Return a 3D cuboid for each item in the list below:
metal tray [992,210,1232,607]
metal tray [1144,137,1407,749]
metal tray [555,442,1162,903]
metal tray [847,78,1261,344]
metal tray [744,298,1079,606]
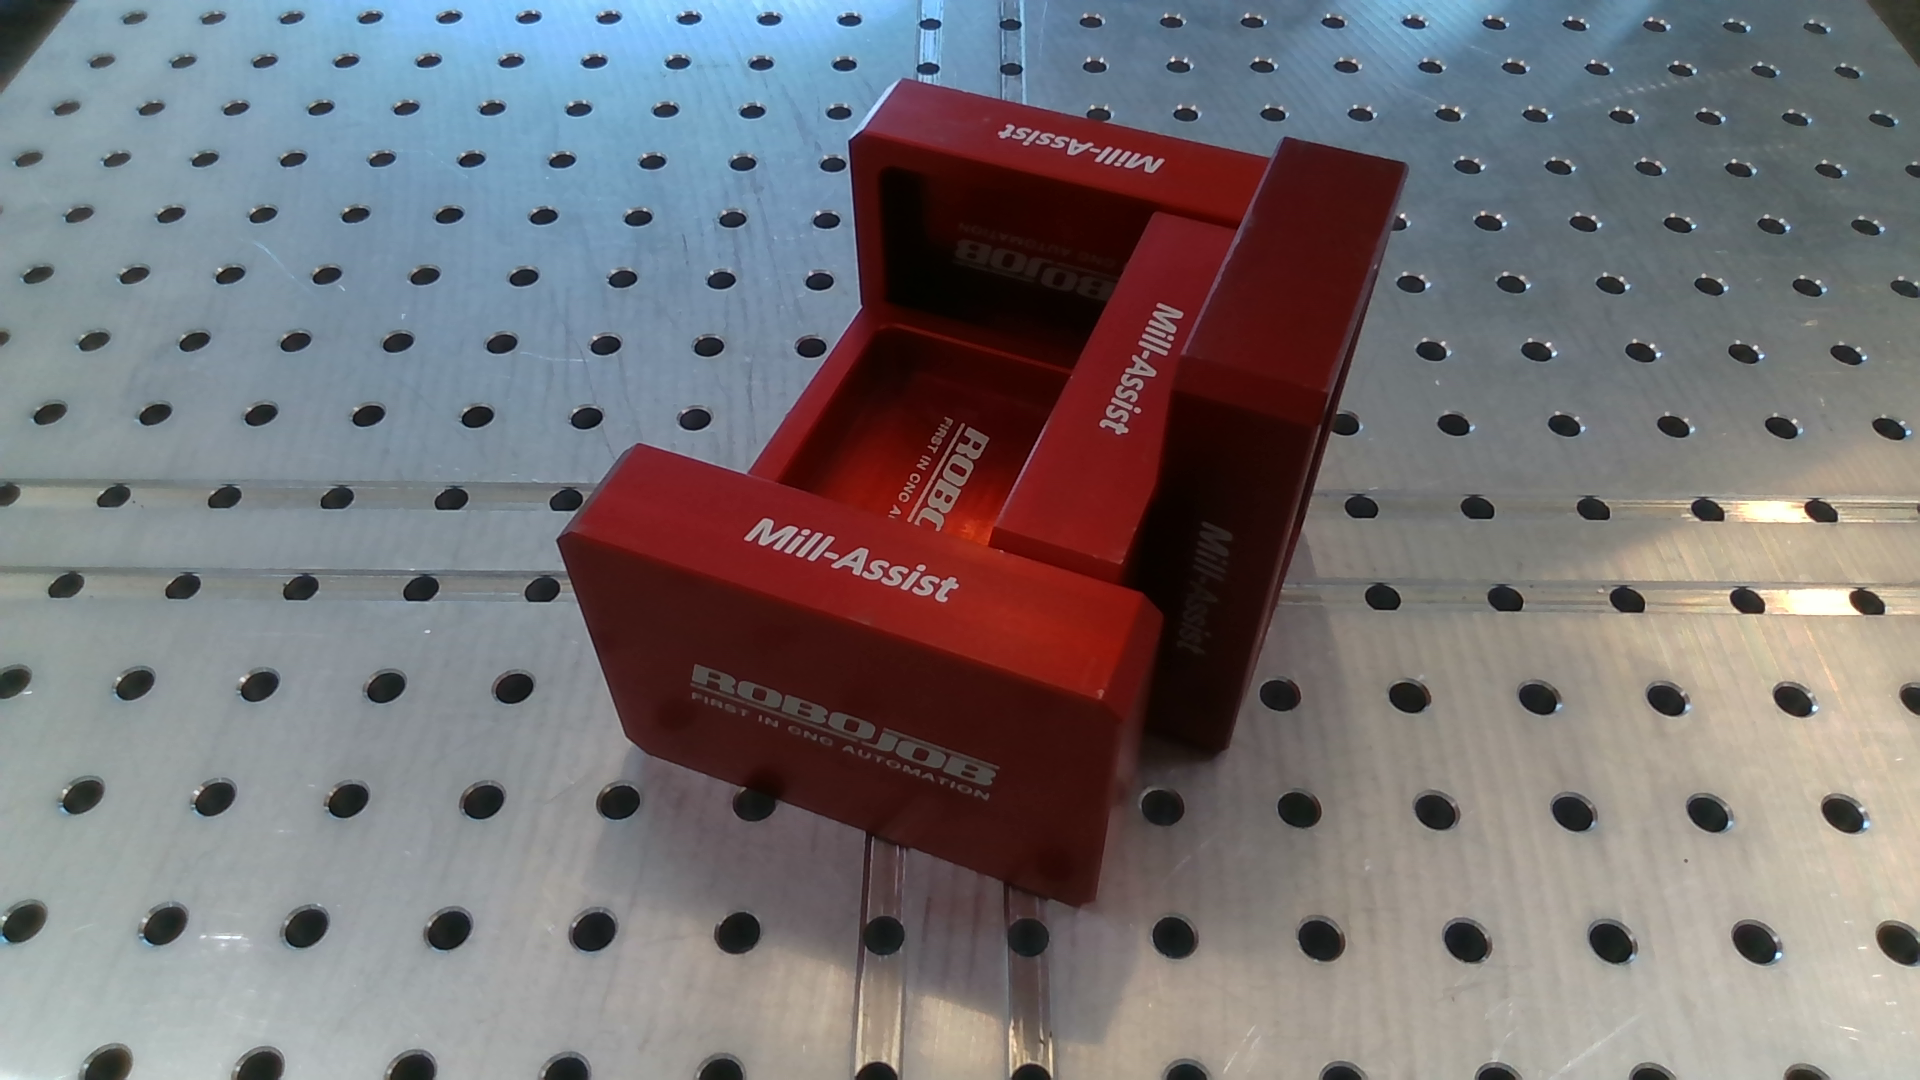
[{"bbox_3d":[0.044,-0.013,0.365,0.030,0.090,0.130,17,53,14],"label":"metal tray"},{"bbox_3d":[0.073,-0.020,0.344,0.030,0.130,0.090,17,53,15],"label":"metal tray"},{"bbox_3d":[-0.023,0.033,0.326,0.130,0.090,0.030,17,52,14],"label":"metal tray"},{"bbox_3d":[0.033,-0.082,0.422,0.130,0.090,0.030,17,53,13],"label":"metal tray"},{"bbox_3d":[-0.013,-0.010,0.402,0.090,0.030,0.130,17,53,14],"label":"metal tray"}]
